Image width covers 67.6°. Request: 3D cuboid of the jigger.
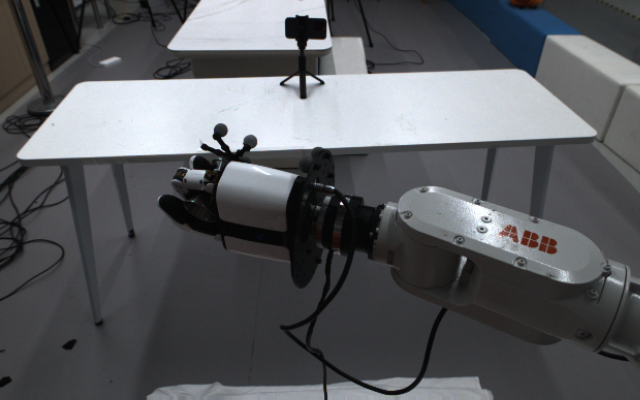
[{"bbox_3d":[-0.127,-0.015,0.583,0.043,0.043,0.071,15,58,18],"label":"jigger"}]
